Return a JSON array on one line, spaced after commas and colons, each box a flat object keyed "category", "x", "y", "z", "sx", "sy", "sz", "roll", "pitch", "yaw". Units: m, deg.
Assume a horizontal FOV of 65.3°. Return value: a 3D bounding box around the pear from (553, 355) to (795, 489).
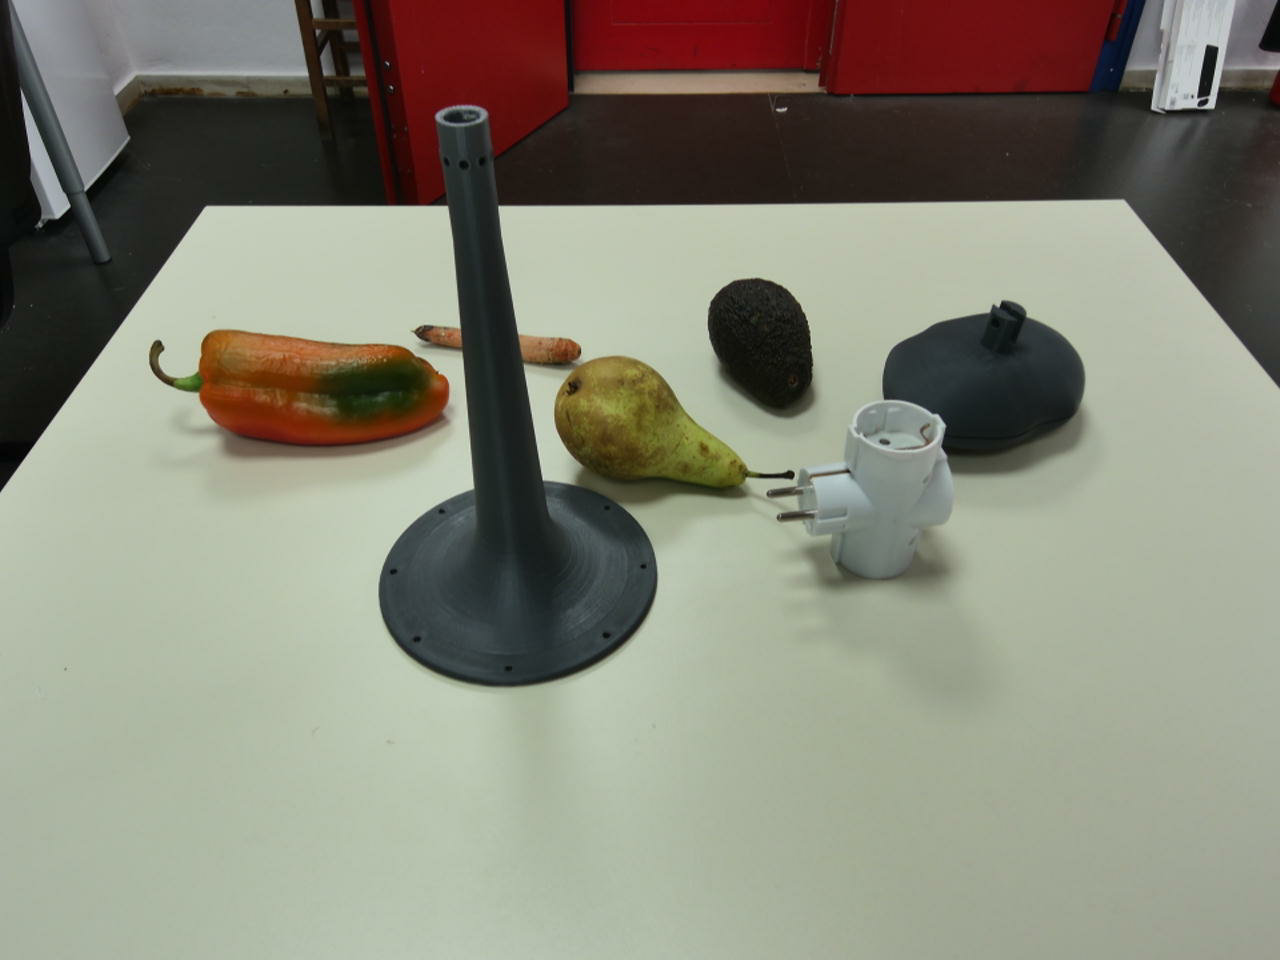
[{"category": "pear", "x": 0.021, "y": -0.034, "z": 0.592, "sx": 0.144, "sy": 0.075, "sz": 0.071, "roll": 4, "pitch": 40, "yaw": 6}]
